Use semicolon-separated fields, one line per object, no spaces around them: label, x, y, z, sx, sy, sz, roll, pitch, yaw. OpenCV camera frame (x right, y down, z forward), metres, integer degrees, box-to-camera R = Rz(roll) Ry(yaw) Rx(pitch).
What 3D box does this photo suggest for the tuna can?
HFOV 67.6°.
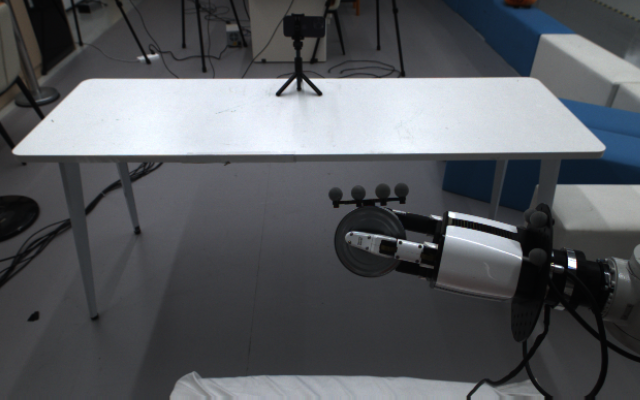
tuna can;0.063;0.048;0.586;0.085;0.085;0.034;10;2;12
